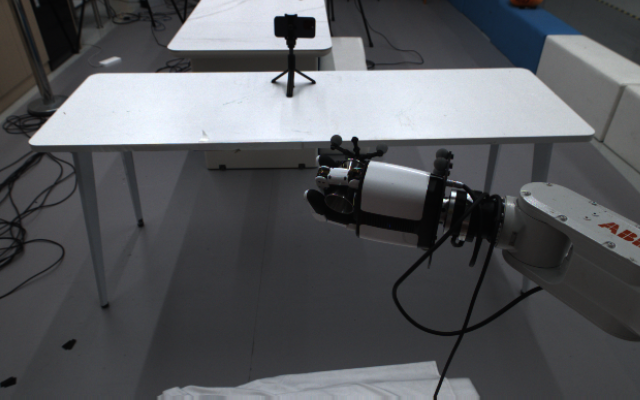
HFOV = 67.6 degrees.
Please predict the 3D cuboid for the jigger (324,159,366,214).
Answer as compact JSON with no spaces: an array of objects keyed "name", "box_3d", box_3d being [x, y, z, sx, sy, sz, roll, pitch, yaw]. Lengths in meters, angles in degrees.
[{"name":"jigger","box_3d":[0.041,-0.020,0.682,0.043,0.043,0.071,13,58,16]}]
